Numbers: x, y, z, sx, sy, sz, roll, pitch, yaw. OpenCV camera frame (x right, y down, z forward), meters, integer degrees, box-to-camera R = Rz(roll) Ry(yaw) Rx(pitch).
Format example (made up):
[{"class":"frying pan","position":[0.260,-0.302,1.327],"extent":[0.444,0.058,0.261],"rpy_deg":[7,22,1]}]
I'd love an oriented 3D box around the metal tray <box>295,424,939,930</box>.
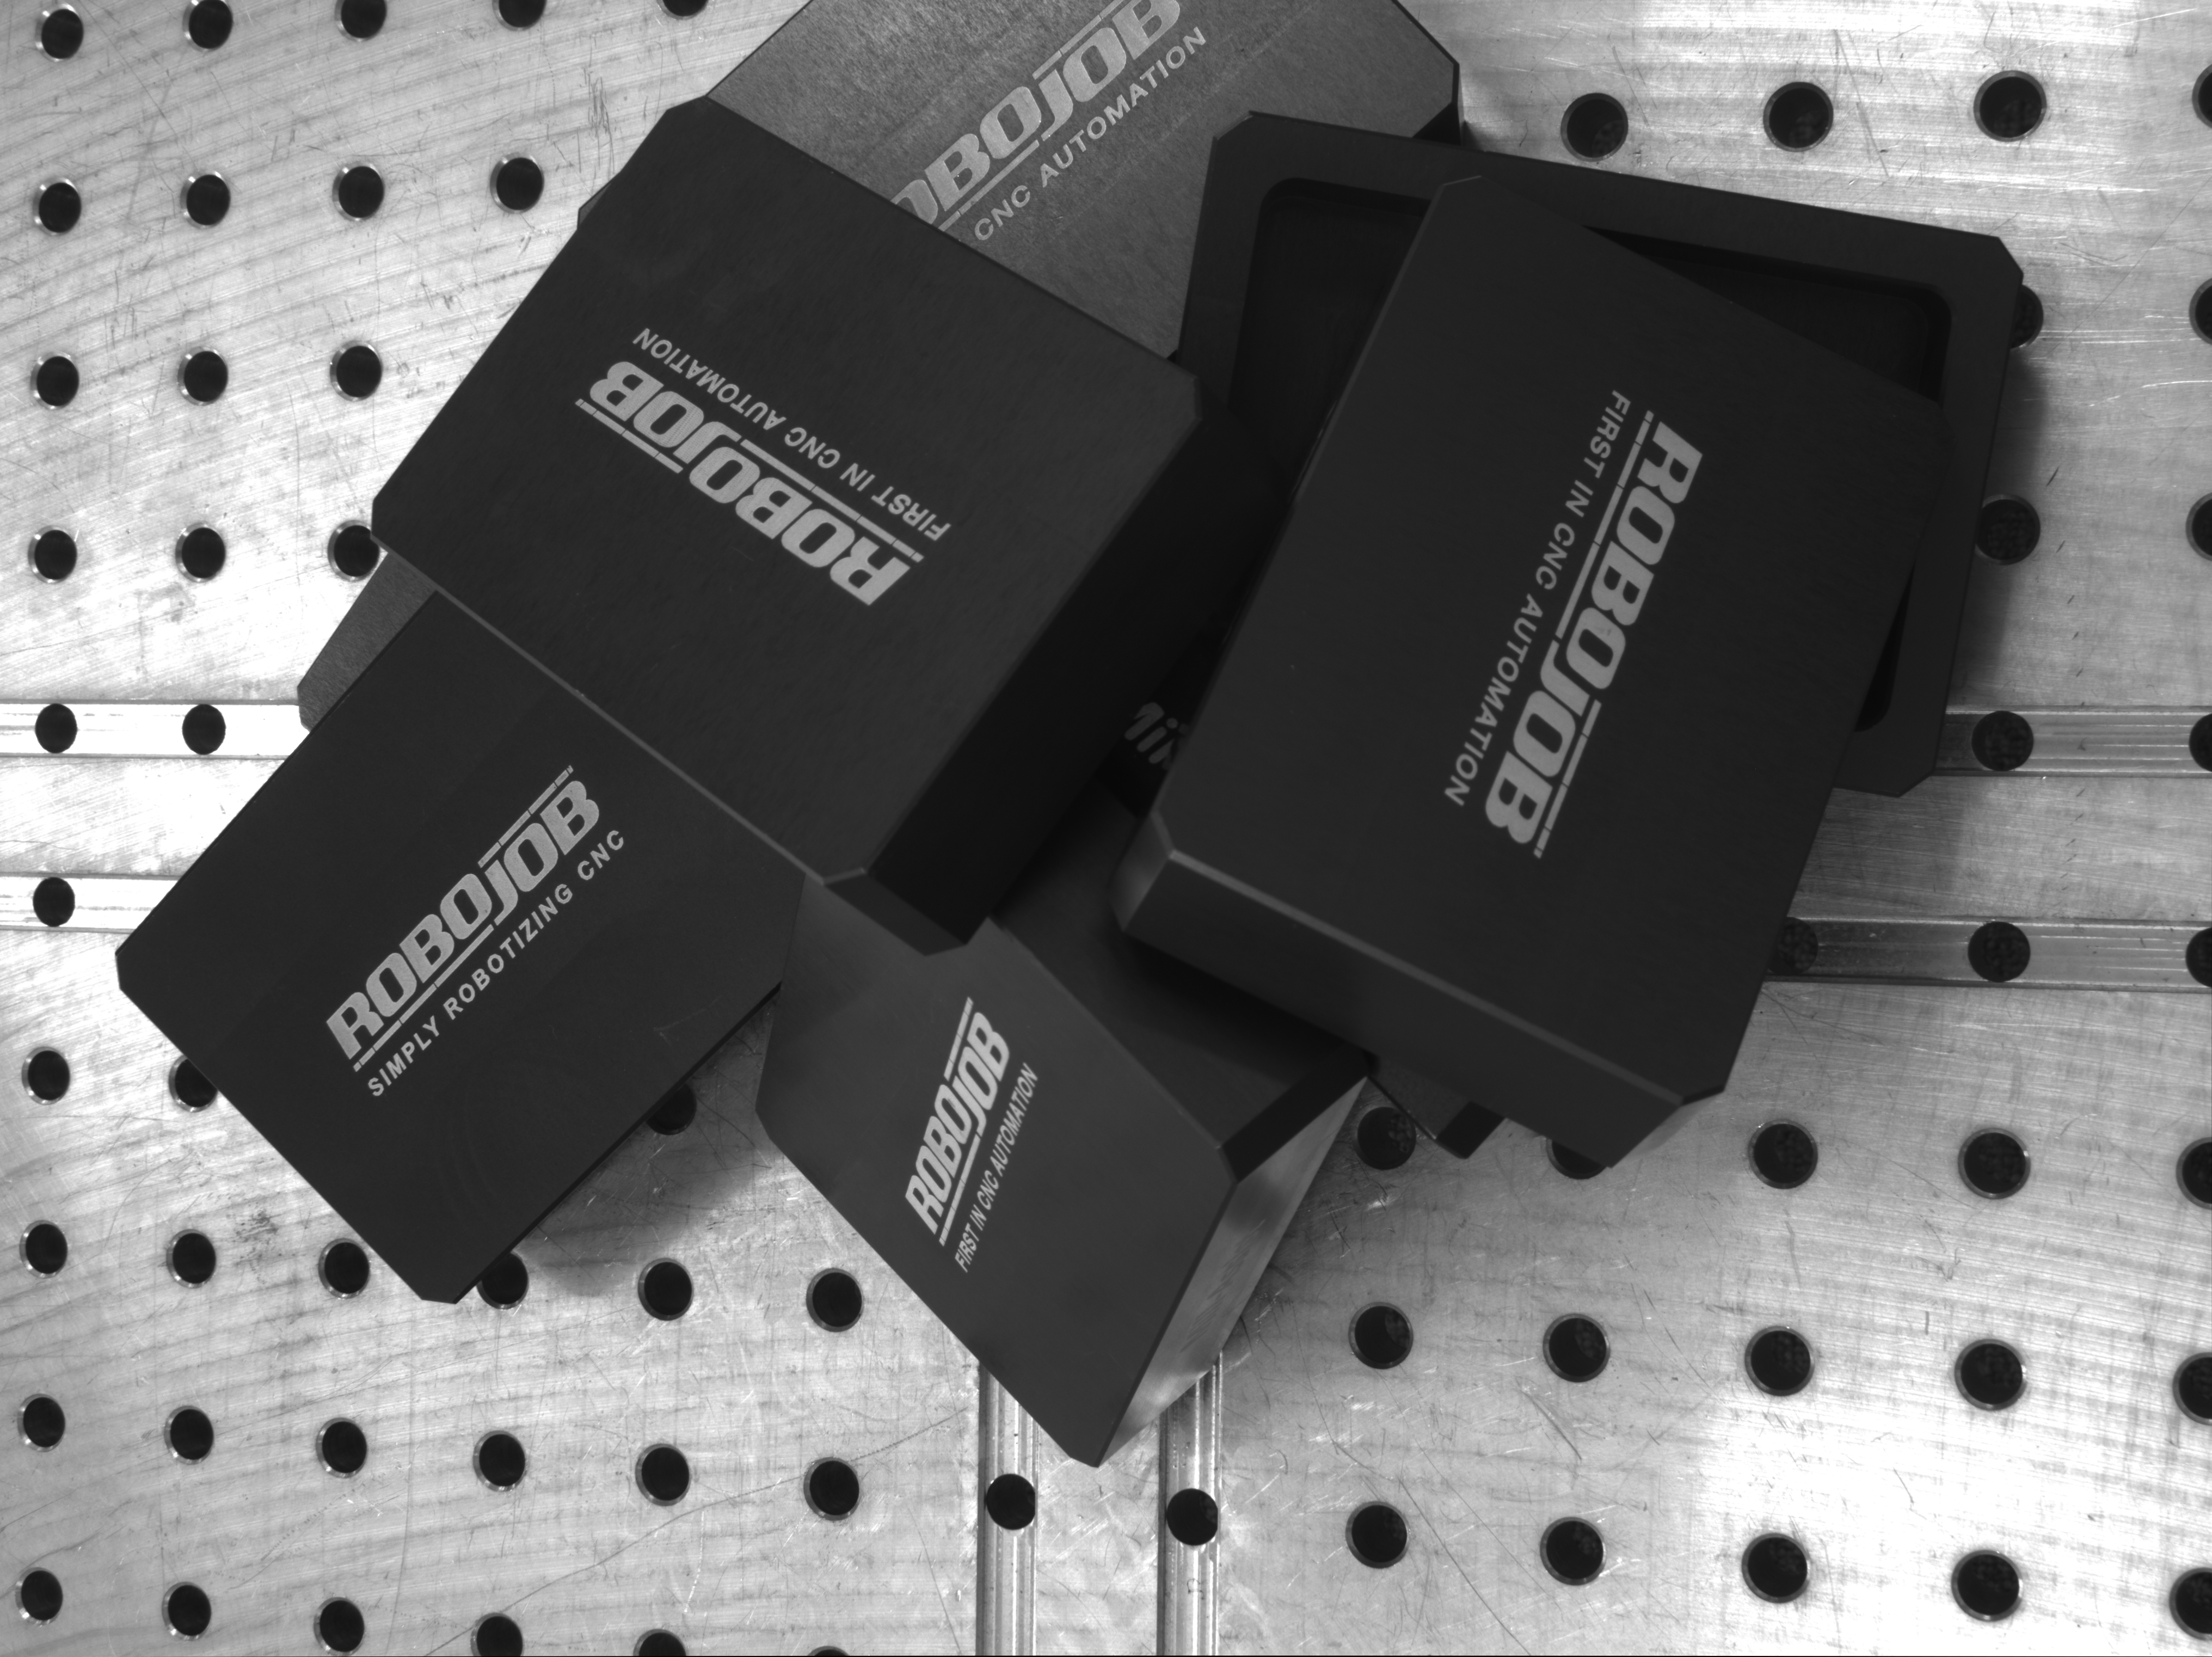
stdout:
[{"class":"metal tray","position":[-0.079,-0.046,0.675],"extent":[0.090,0.030,0.130],"rpy_deg":[40,103,15]}]

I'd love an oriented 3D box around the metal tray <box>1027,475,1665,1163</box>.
[{"class":"metal tray","position":[0.035,-0.005,0.603],"extent":[0.130,0.090,0.030],"rpy_deg":[47,105,15]}]

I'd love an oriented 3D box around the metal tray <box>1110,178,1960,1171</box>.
[{"class":"metal tray","position":[0.067,-0.025,0.555],"extent":[0.090,0.030,0.130],"rpy_deg":[26,63,-2]}]

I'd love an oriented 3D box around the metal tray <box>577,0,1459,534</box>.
[{"class":"metal tray","position":[-0.014,-0.111,0.632],"extent":[0.130,0.030,0.090],"rpy_deg":[-42,78,0]}]

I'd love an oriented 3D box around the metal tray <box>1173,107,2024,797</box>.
[{"class":"metal tray","position":[0.074,-0.060,0.596],"extent":[0.130,0.030,0.090],"rpy_deg":[10,93,0]}]

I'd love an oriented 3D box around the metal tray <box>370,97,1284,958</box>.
[{"class":"metal tray","position":[-0.046,-0.050,0.570],"extent":[0.130,0.030,0.090],"rpy_deg":[35,88,37]}]

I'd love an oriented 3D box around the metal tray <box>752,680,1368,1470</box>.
[{"class":"metal tray","position":[-0.012,0.044,0.604],"extent":[0.030,0.130,0.090],"rpy_deg":[-38,74,-27]}]

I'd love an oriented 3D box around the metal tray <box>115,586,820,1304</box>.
[{"class":"metal tray","position":[-0.107,0.014,0.662],"extent":[0.090,0.030,0.130],"rpy_deg":[46,117,-2]}]
